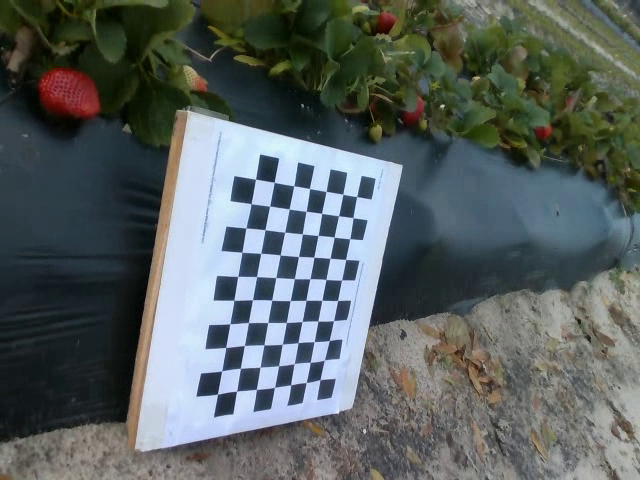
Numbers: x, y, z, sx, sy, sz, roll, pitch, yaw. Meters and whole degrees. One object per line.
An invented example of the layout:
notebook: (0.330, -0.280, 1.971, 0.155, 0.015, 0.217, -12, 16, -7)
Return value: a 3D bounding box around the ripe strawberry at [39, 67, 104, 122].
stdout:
ripe strawberry: (-0.151, -0.087, 0.360, 0.037, 0.046, 0.036, -41, -14, -20)
